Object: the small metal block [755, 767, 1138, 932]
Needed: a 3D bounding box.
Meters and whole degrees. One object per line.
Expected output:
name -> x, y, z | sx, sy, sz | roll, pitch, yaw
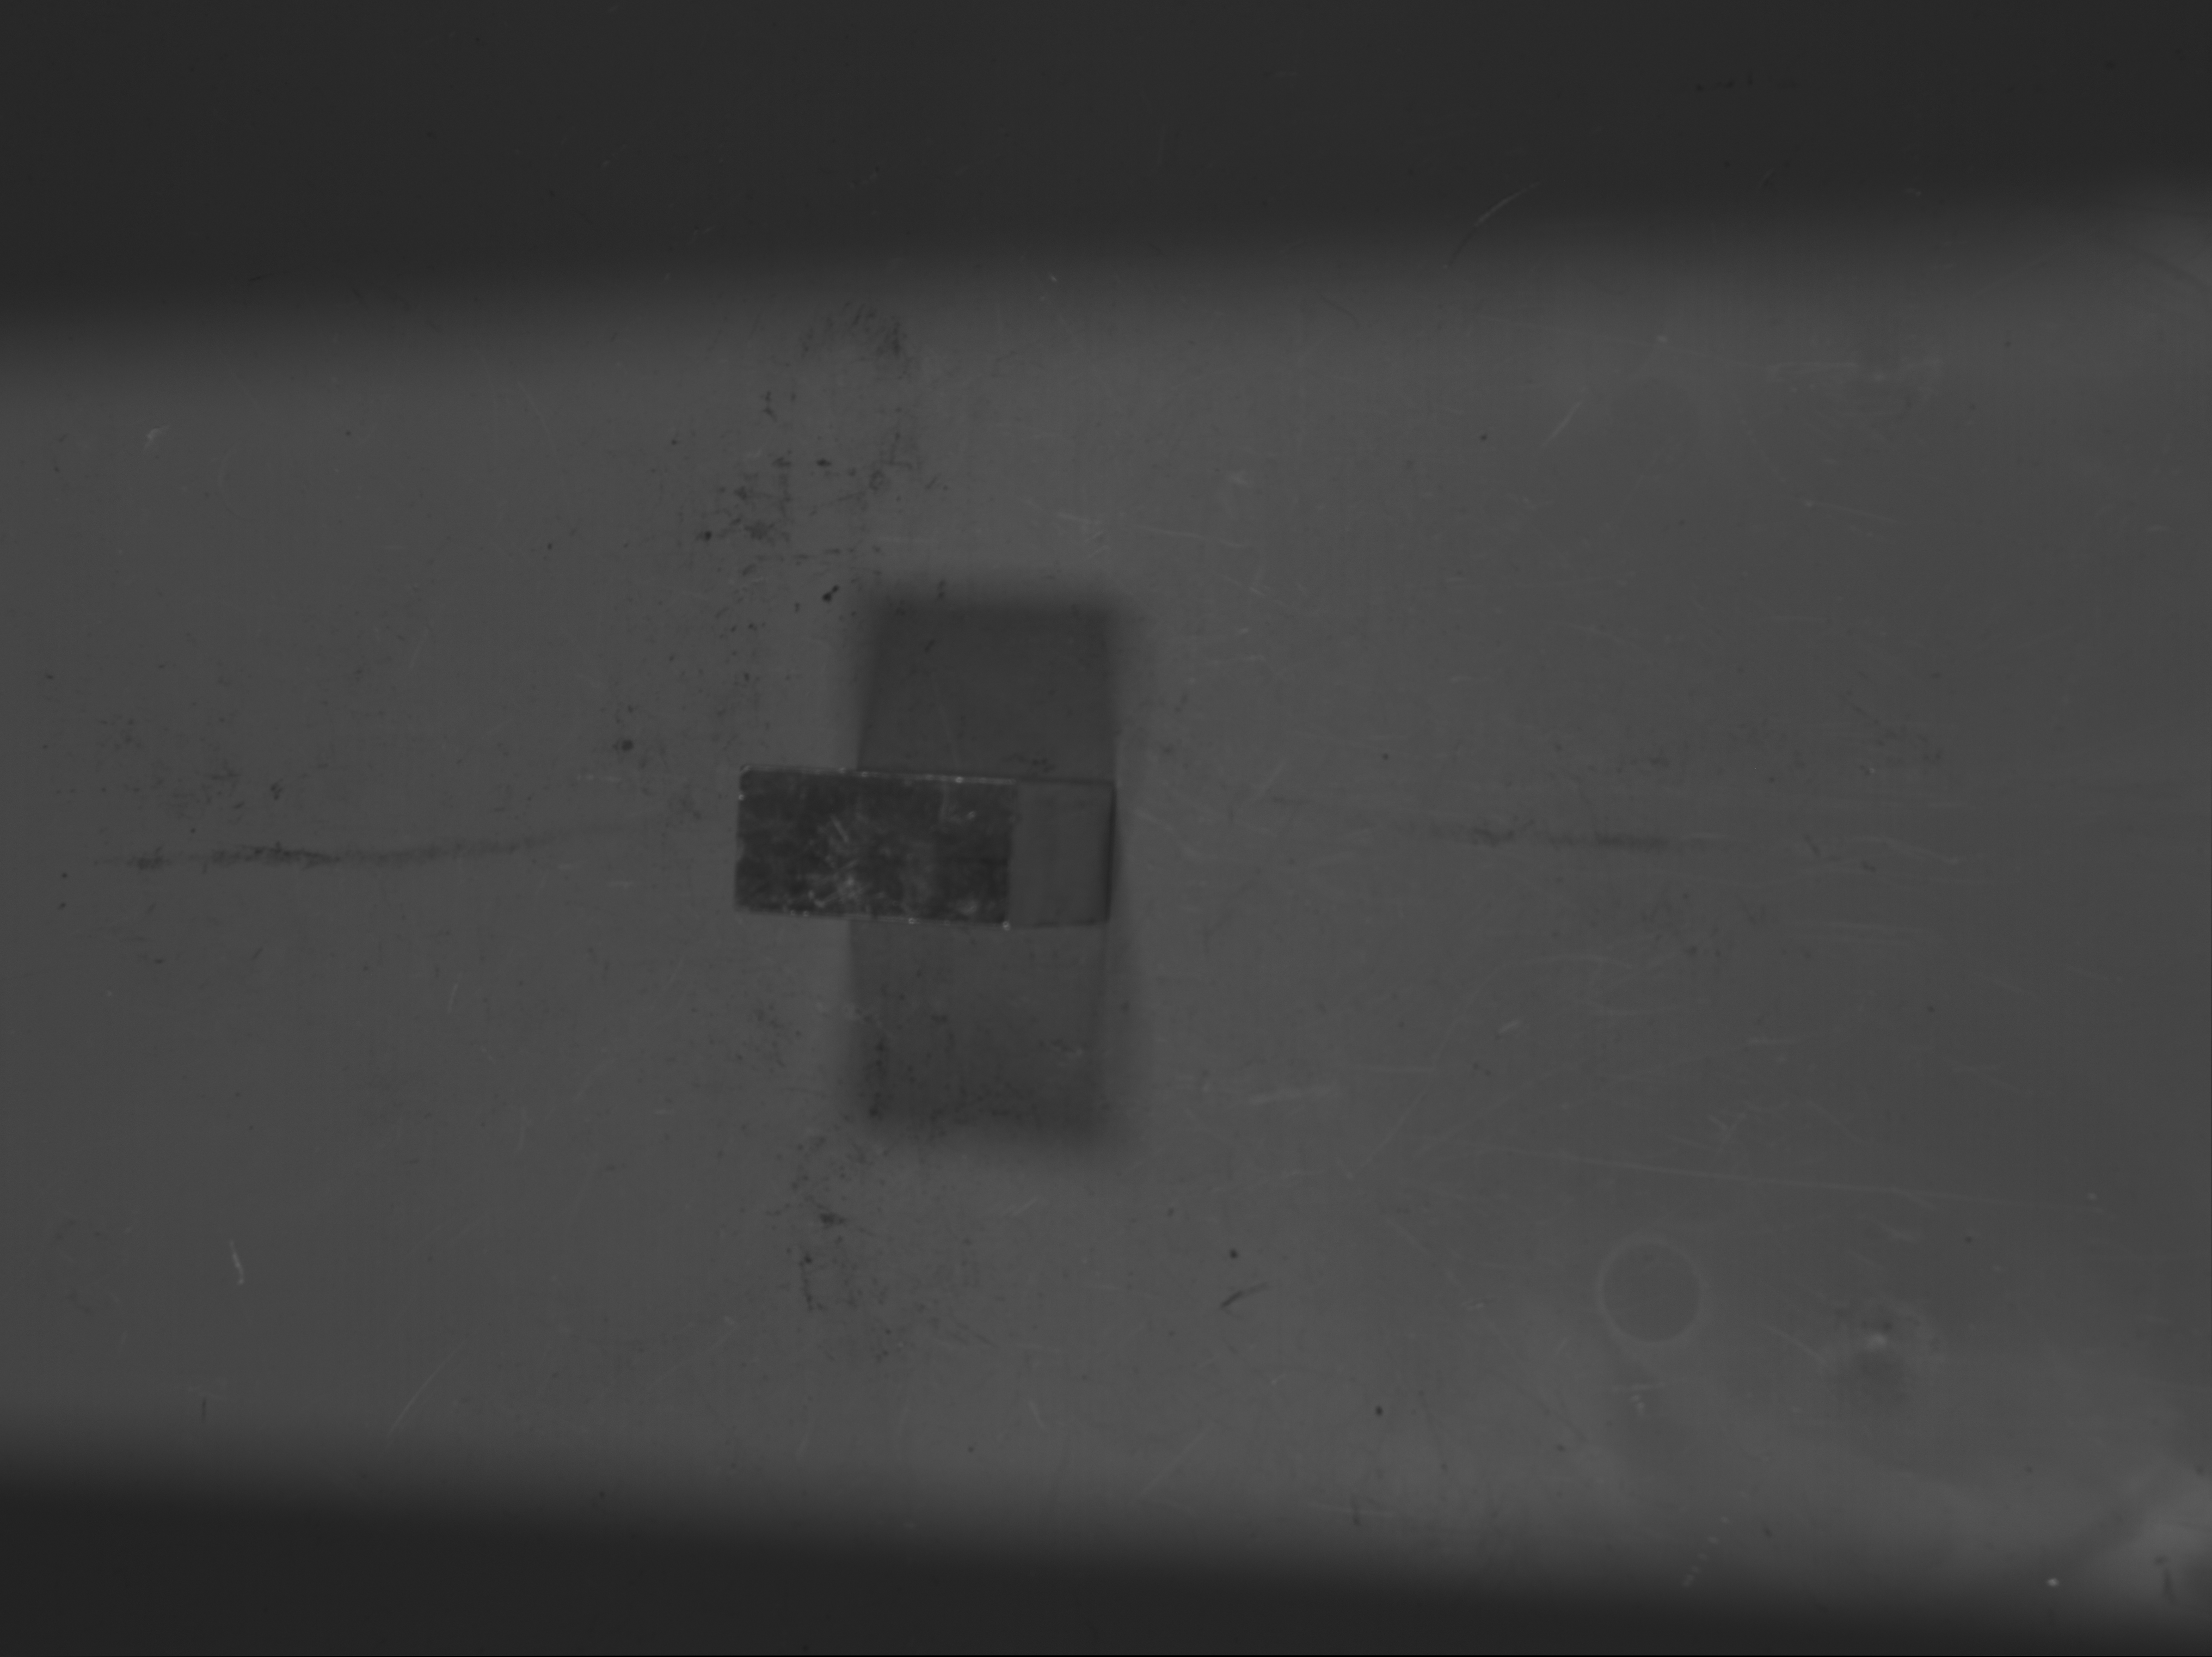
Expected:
small metal block -> -0.027, 0.004, 0.637 | 0.050, 0.050, 0.025 | 3, 91, 20
